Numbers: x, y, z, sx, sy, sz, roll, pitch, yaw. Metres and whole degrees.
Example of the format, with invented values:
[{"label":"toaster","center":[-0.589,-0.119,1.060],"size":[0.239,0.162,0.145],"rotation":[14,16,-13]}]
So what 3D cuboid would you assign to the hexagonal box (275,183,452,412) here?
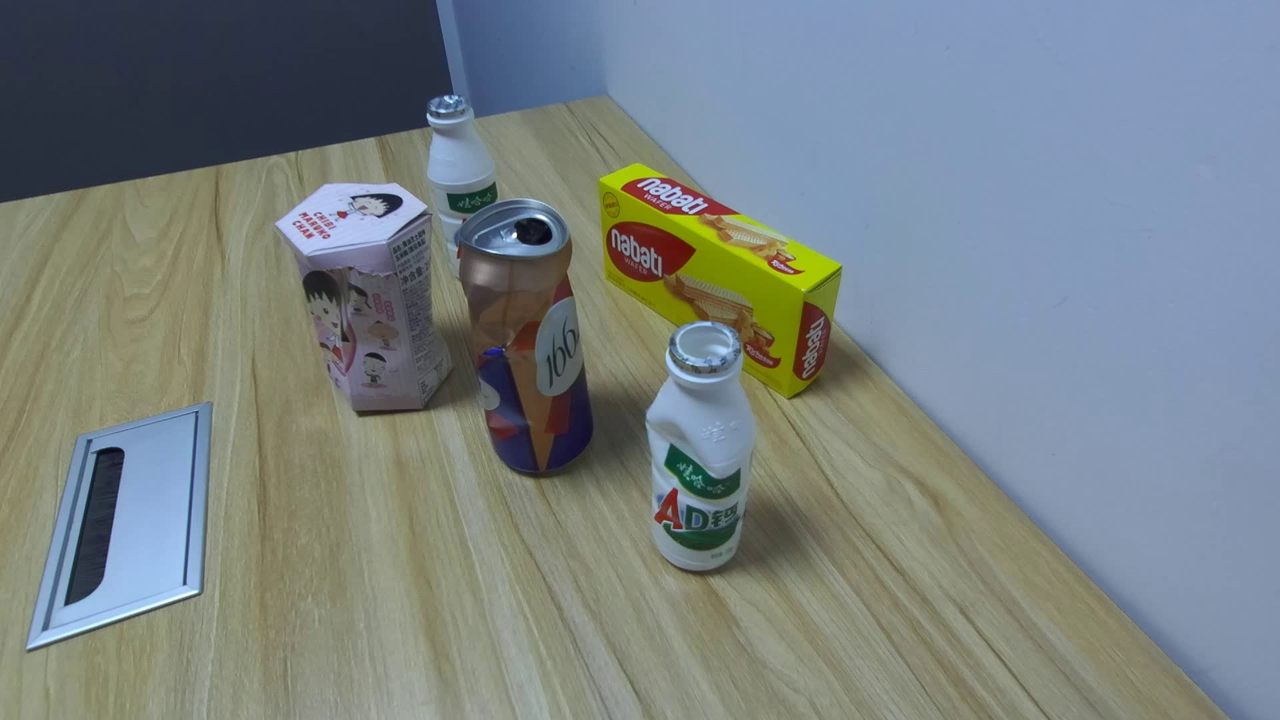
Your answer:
[{"label":"hexagonal box","center":[-0.175,-0.041,0.471],"size":[0.090,0.134,0.091],"rotation":[1,41,-2]}]

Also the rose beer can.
[{"label":"rose beer can","center":[-0.065,-0.007,0.409],"size":[0.068,0.162,0.073],"rotation":[-17,45,-17]}]

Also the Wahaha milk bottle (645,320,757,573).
[{"label":"Wahaha milk bottle","center":[0.030,0.047,0.355],"size":[0.056,0.148,0.056],"rotation":[-1,44,1]}]

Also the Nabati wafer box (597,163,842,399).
[{"label":"Nabati wafer box","center":[0.049,-0.063,0.515],"size":[0.042,0.093,0.202],"rotation":[-31,49,-30]}]

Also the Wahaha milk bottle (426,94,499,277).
[{"label":"Wahaha milk bottle","center":[-0.138,-0.136,0.564],"size":[0.053,0.147,0.053],"rotation":[1,49,-1]}]
